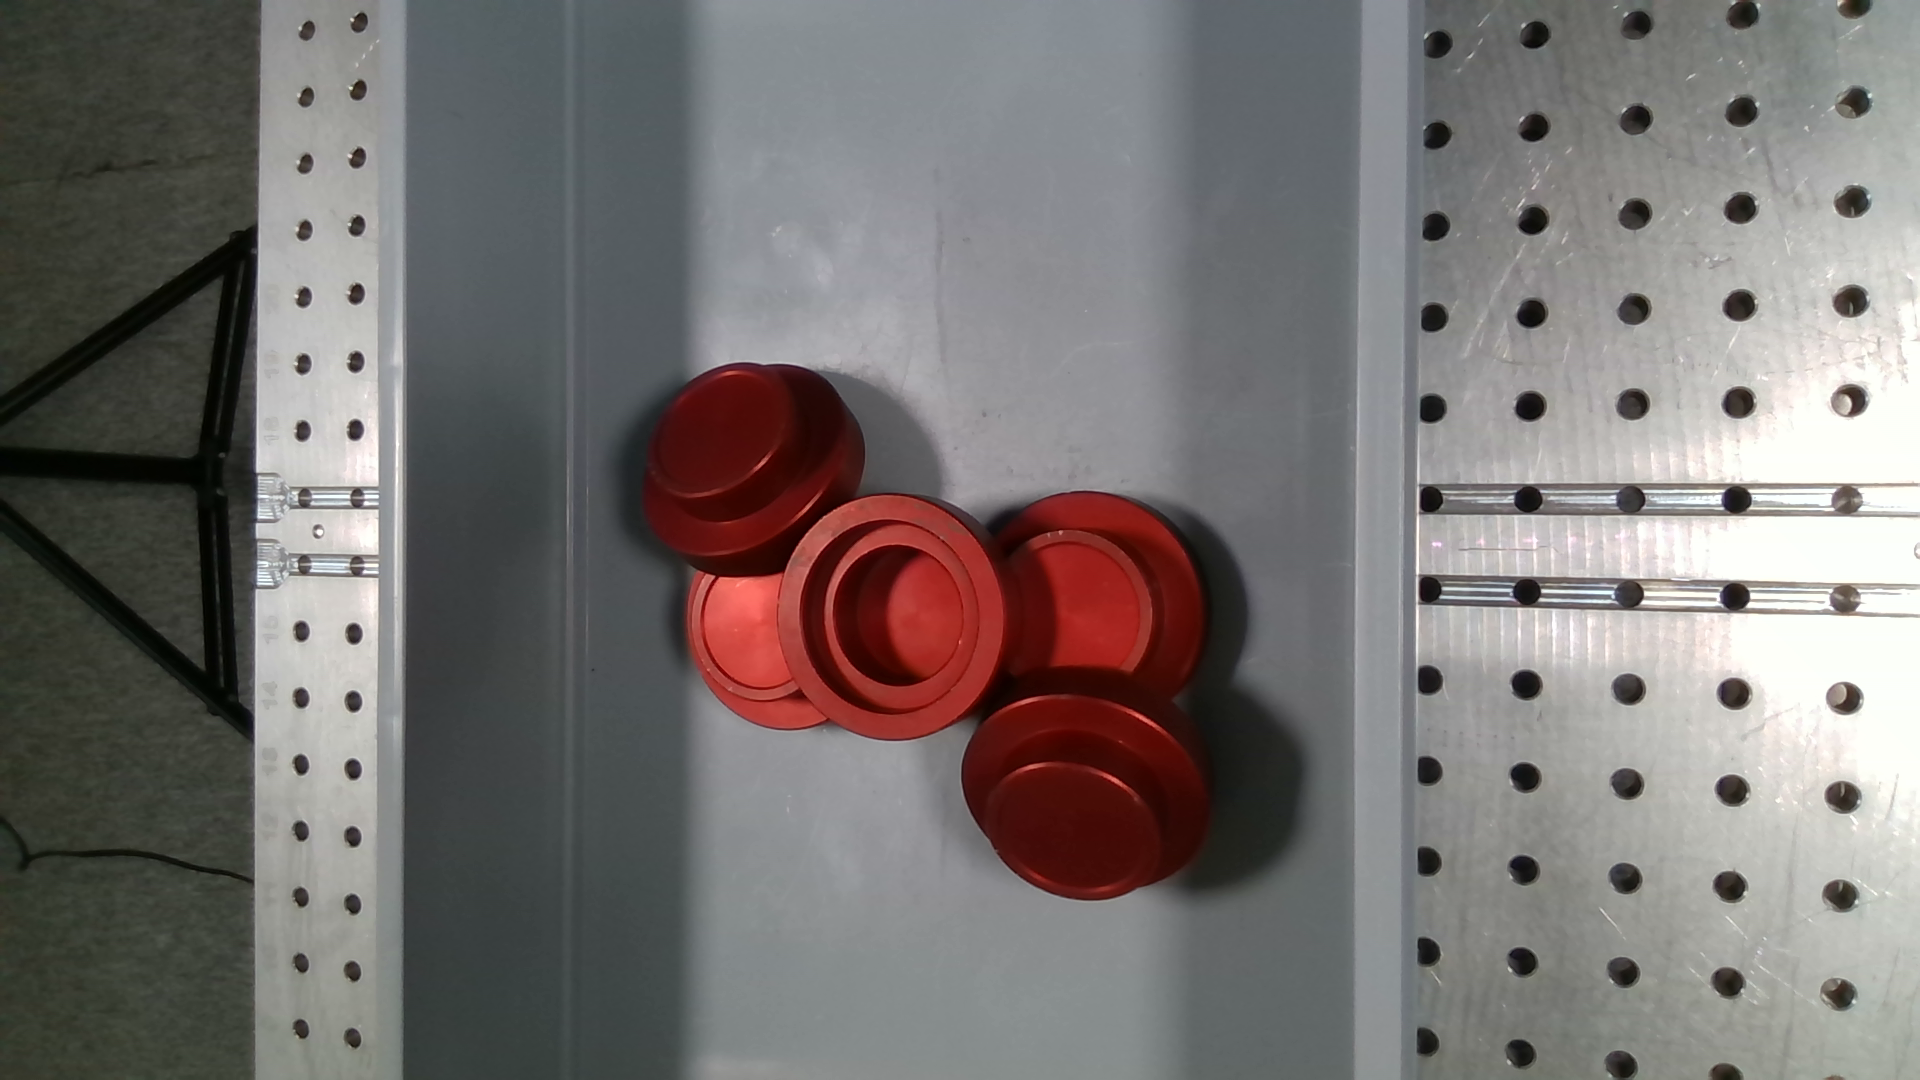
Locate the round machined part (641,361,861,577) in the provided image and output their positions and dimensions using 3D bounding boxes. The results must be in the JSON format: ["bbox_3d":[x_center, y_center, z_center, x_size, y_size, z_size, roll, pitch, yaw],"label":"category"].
[{"bbox_3d":[-0.094,-0.037,0.587,0.098,0.042,0.098,-11,57,18],"label":"round machined part"}]

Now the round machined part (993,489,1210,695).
[{"bbox_3d":[0.049,0.028,0.557,0.098,0.042,0.098,0,91,20],"label":"round machined part"}]

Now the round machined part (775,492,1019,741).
[{"bbox_3d":[-0.022,0.030,0.560,0.098,0.042,0.098,0,91,20],"label":"round machined part"}]

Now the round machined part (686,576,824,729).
[{"bbox_3d":[-0.078,0.034,0.604,0.098,0.042,0.098,0,91,20],"label":"round machined part"}]

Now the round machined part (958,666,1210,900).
[{"bbox_3d":[0.046,0.101,0.536,0.098,0.042,0.098,8,123,12],"label":"round machined part"}]
